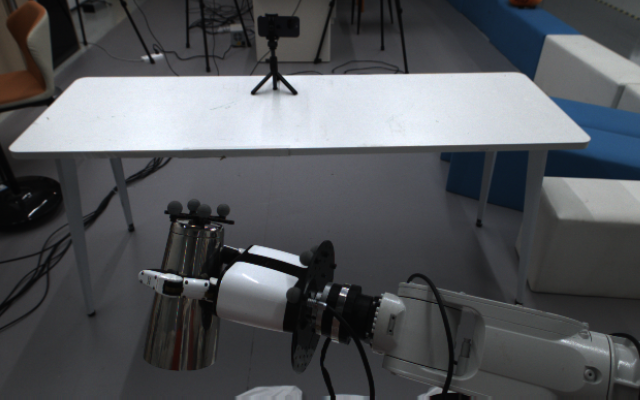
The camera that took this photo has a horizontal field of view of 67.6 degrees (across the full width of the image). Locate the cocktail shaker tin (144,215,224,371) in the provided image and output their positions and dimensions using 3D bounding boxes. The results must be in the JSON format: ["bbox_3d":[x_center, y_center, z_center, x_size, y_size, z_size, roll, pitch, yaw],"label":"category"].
[{"bbox_3d":[-0.163,0.115,0.611,0.093,0.170,0.093,9,3,0],"label":"cocktail shaker tin"}]
